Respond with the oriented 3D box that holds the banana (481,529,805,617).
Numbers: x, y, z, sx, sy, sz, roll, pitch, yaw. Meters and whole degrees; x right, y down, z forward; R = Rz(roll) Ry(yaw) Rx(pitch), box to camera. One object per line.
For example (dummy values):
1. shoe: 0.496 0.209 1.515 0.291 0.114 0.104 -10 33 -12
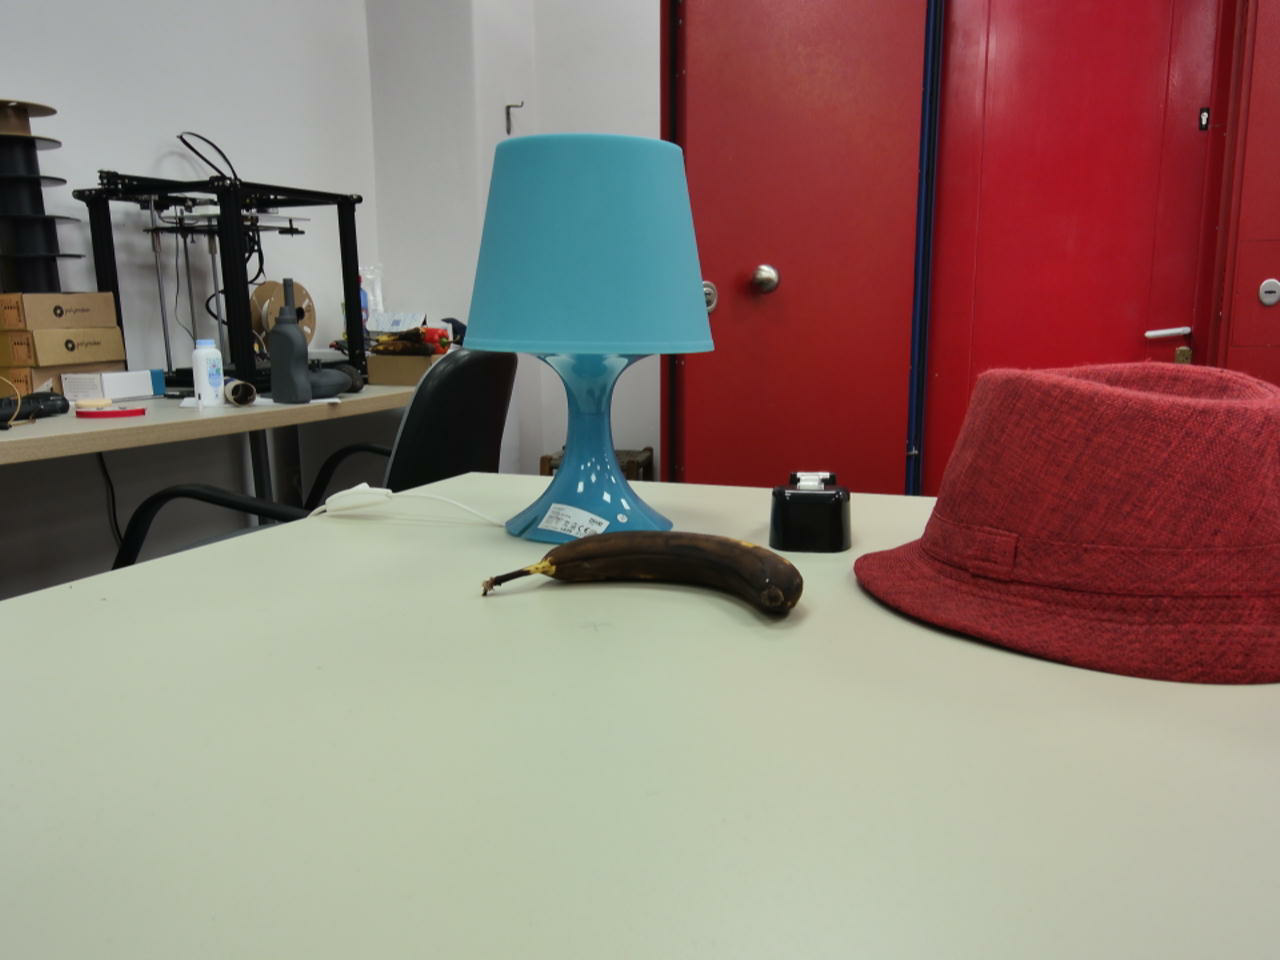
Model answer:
1. banana: 0.009 0.052 0.595 0.188 0.033 0.091 3 8 24
